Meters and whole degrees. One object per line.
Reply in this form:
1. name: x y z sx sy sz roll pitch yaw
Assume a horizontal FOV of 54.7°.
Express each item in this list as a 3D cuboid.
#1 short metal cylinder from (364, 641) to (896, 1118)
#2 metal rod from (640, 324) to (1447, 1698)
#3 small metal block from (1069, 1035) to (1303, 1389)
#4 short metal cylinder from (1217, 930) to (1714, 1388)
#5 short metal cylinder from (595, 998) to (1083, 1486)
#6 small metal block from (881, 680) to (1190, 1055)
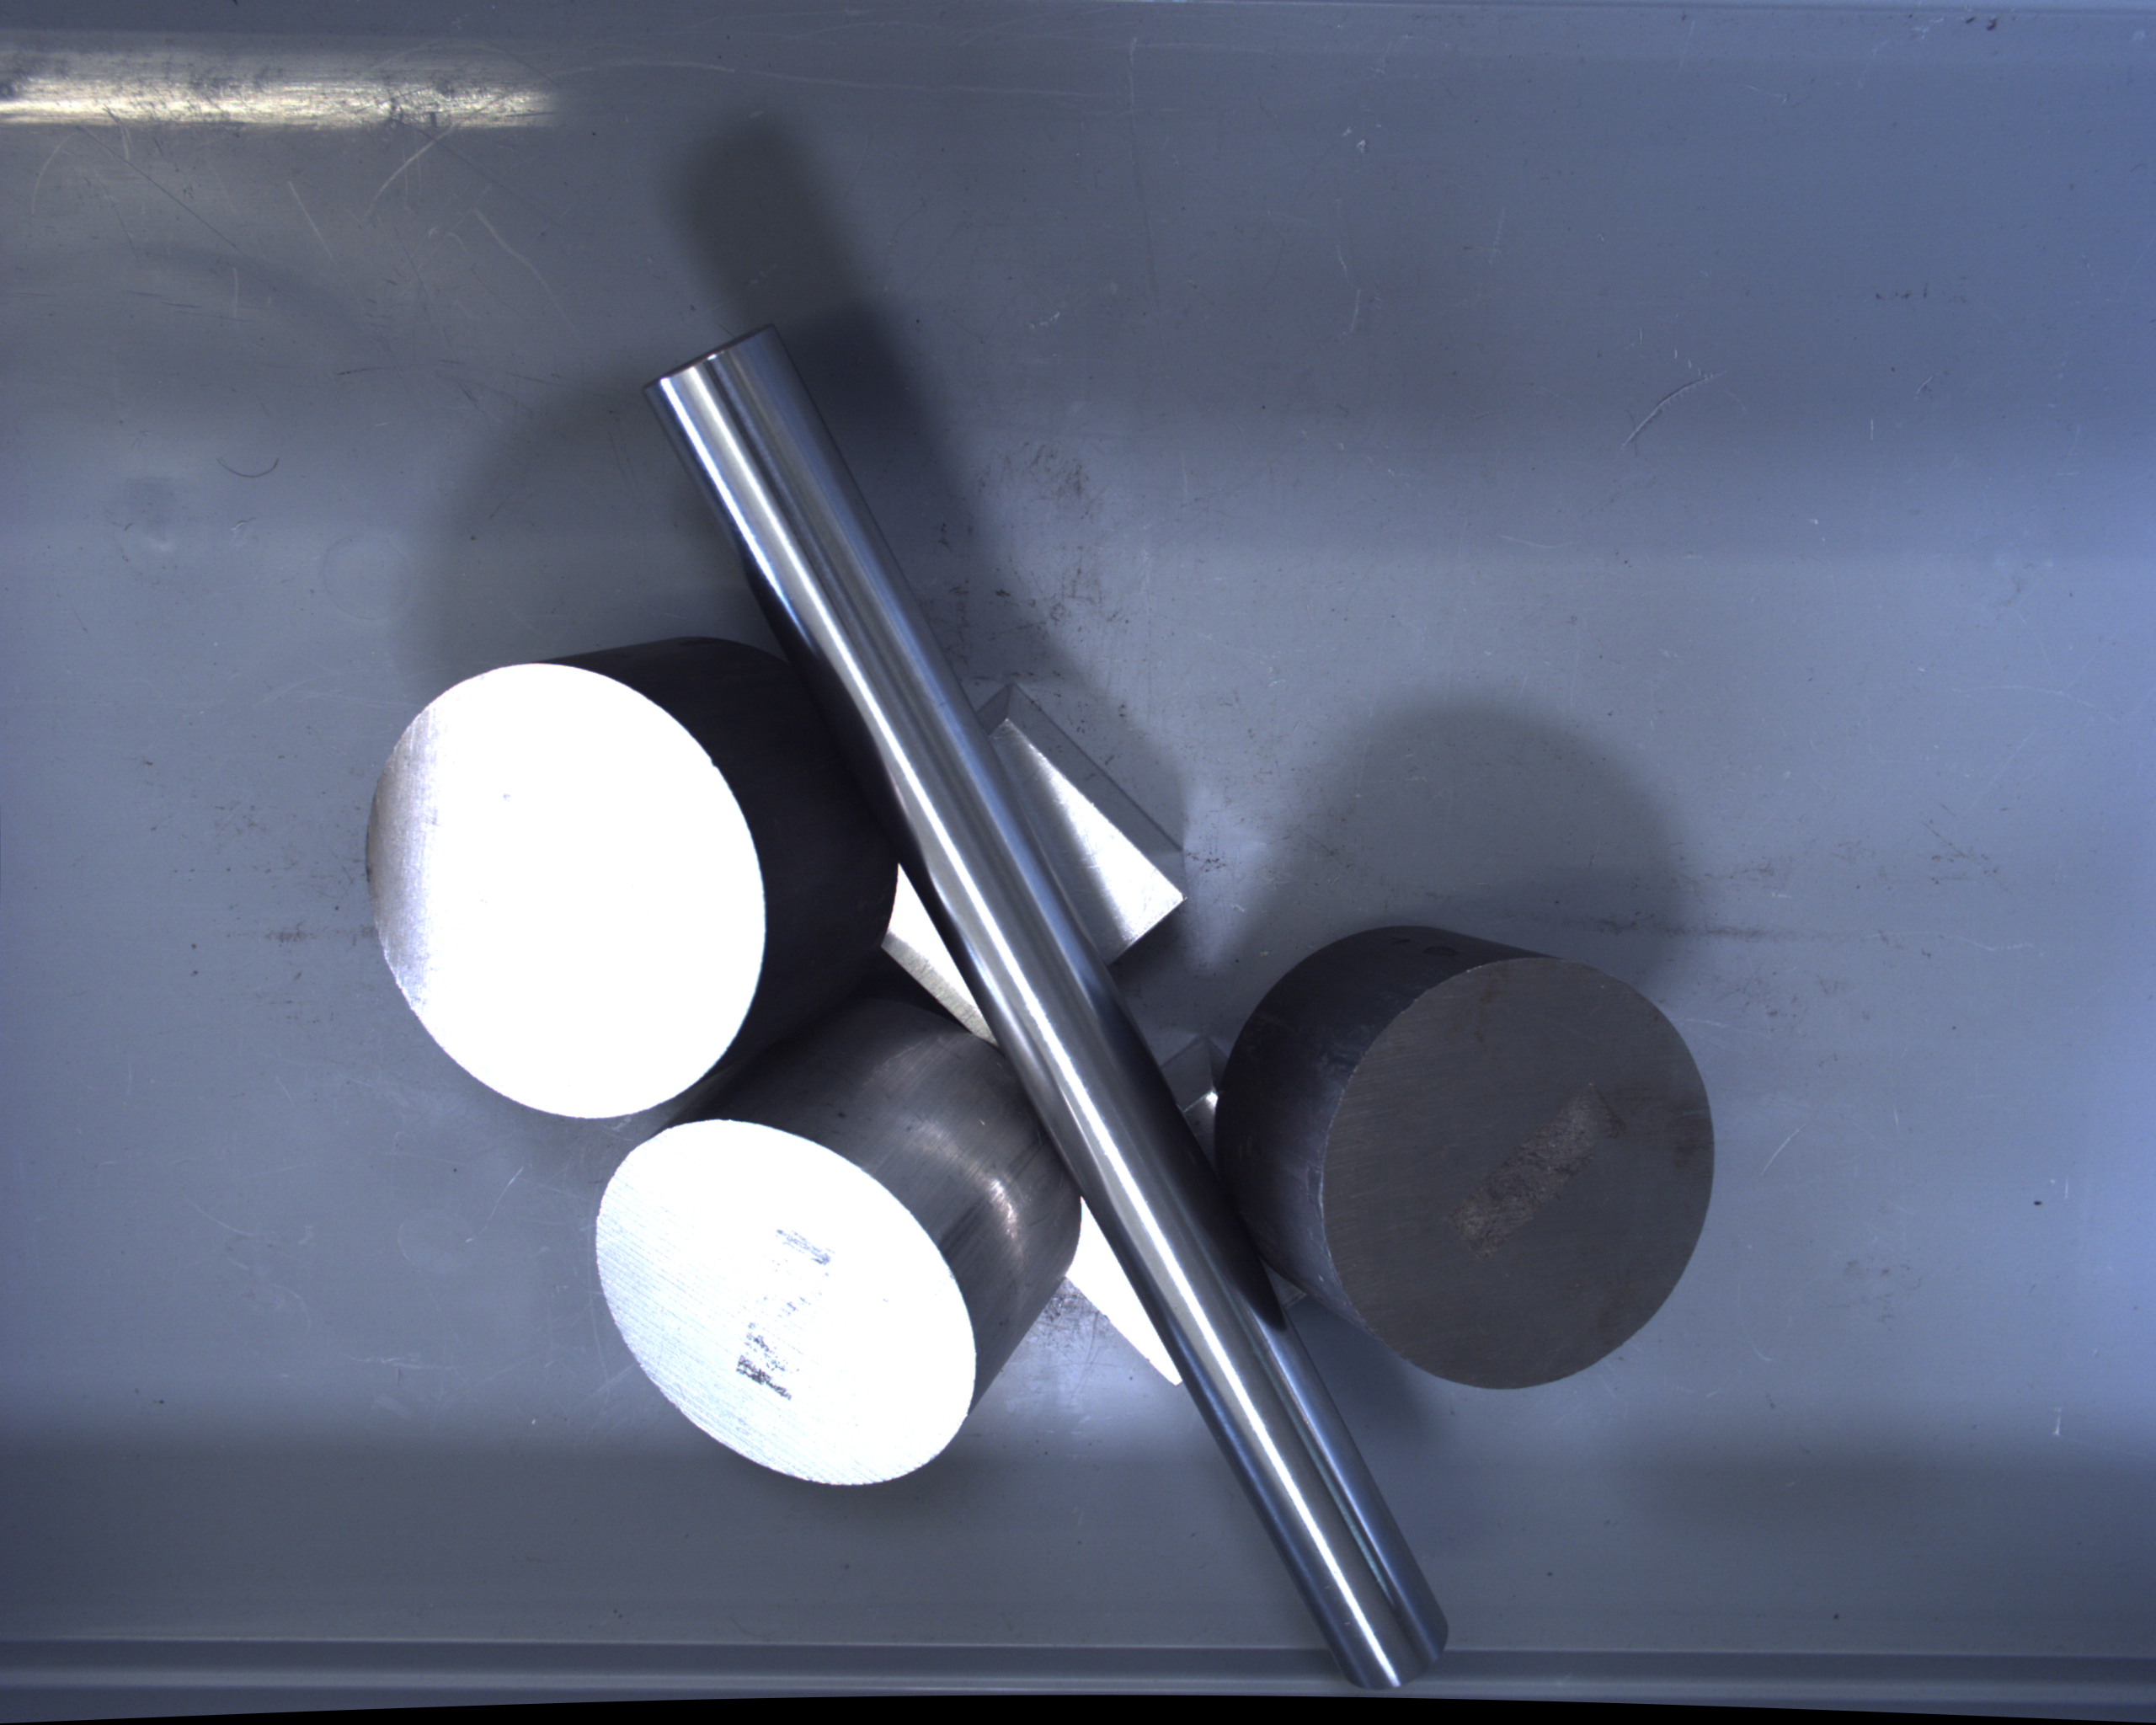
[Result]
1. short metal cylinder: -0.081 0.001 0.381 0.080 0.050 0.079 4 102 20
2. metal rod: 0.002 0.041 0.397 0.025 0.025 0.299 -24 108 8
3. small metal block: 0.023 0.073 0.437 0.050 0.025 0.050 -38 106 13
4. short metal cylinder: 0.074 0.055 0.403 0.081 0.050 0.079 -2 95 -18
5. short metal cylinder: -0.046 0.073 0.408 0.080 0.050 0.079 9 116 20
6. small metal block: -0.014 0.001 0.410 0.050 0.025 0.050 -41 105 13
